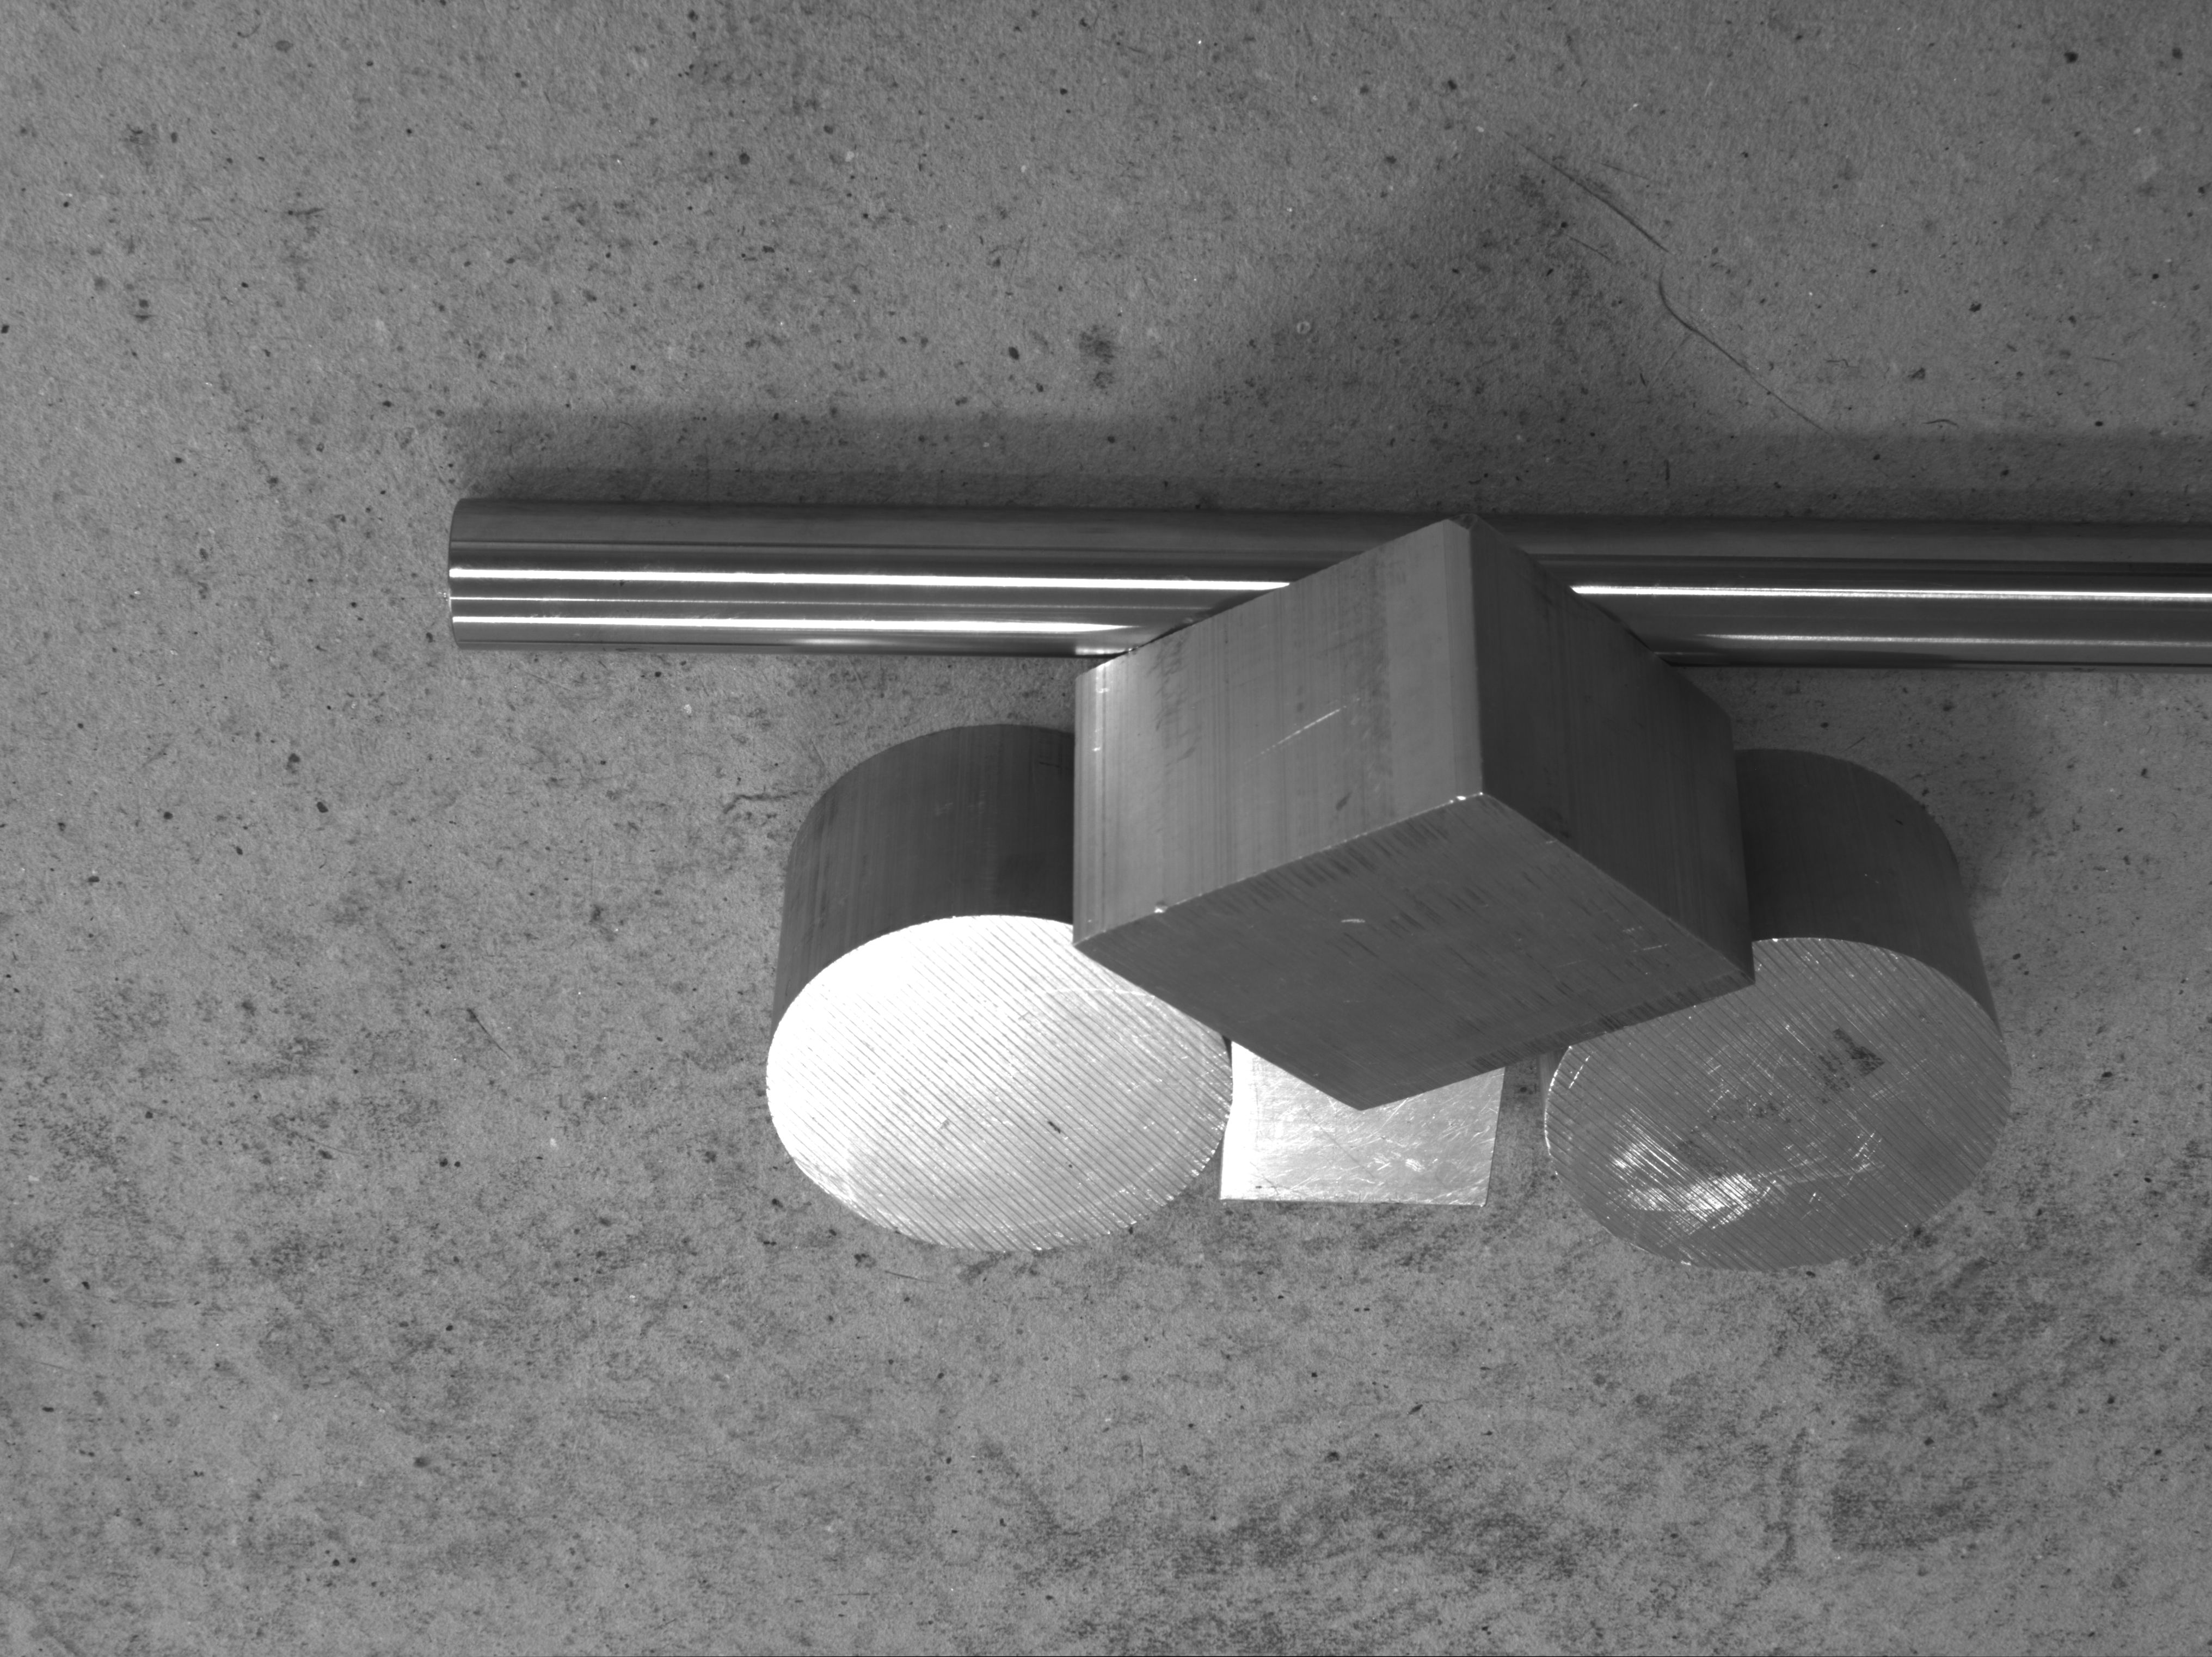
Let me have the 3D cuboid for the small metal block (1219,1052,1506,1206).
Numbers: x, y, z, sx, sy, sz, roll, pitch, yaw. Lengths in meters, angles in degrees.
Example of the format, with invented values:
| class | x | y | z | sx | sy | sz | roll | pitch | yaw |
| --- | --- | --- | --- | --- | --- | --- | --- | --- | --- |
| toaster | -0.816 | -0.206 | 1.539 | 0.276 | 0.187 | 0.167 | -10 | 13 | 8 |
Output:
| class | x | y | z | sx | sy | sz | roll | pitch | yaw |
| --- | --- | --- | --- | --- | --- | --- | --- | --- | --- |
| small metal block | 0.047 | 0.042 | 0.676 | 0.050 | 0.025 | 0.050 | 1 | 130 | -1 |

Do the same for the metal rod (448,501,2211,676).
| class | x | y | z | sx | sy | sz | roll | pitch | yaw |
| --- | --- | --- | --- | --- | --- | --- | --- | --- | --- |
| metal rod | 0.044 | -0.040 | 0.606 | 0.300 | 0.025 | 0.025 | 1 | 130 | -1 |

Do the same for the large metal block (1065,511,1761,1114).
| class | x | y | z | sx | sy | sz | roll | pitch | yaw |
| --- | --- | --- | --- | --- | --- | --- | --- | --- | --- |
| large metal block | 0.050 | 0.000 | 0.601 | 0.080 | 0.050 | 0.080 | -21 | 144 | 33 |

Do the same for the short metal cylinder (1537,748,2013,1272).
| class | x | y | z | sx | sy | sz | roll | pitch | yaw |
| --- | --- | --- | --- | --- | --- | --- | --- | --- | --- |
| short metal cylinder | 0.116 | 0.033 | 0.651 | 0.080 | 0.050 | 0.080 | 0 | 130 | 0 |

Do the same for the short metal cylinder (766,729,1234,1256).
| class | x | y | z | sx | sy | sz | roll | pitch | yaw |
| --- | --- | --- | --- | --- | --- | --- | --- | --- | --- |
| short metal cylinder | -0.018 | 0.029 | 0.647 | 0.080 | 0.050 | 0.080 | 0 | 130 | 0 |
